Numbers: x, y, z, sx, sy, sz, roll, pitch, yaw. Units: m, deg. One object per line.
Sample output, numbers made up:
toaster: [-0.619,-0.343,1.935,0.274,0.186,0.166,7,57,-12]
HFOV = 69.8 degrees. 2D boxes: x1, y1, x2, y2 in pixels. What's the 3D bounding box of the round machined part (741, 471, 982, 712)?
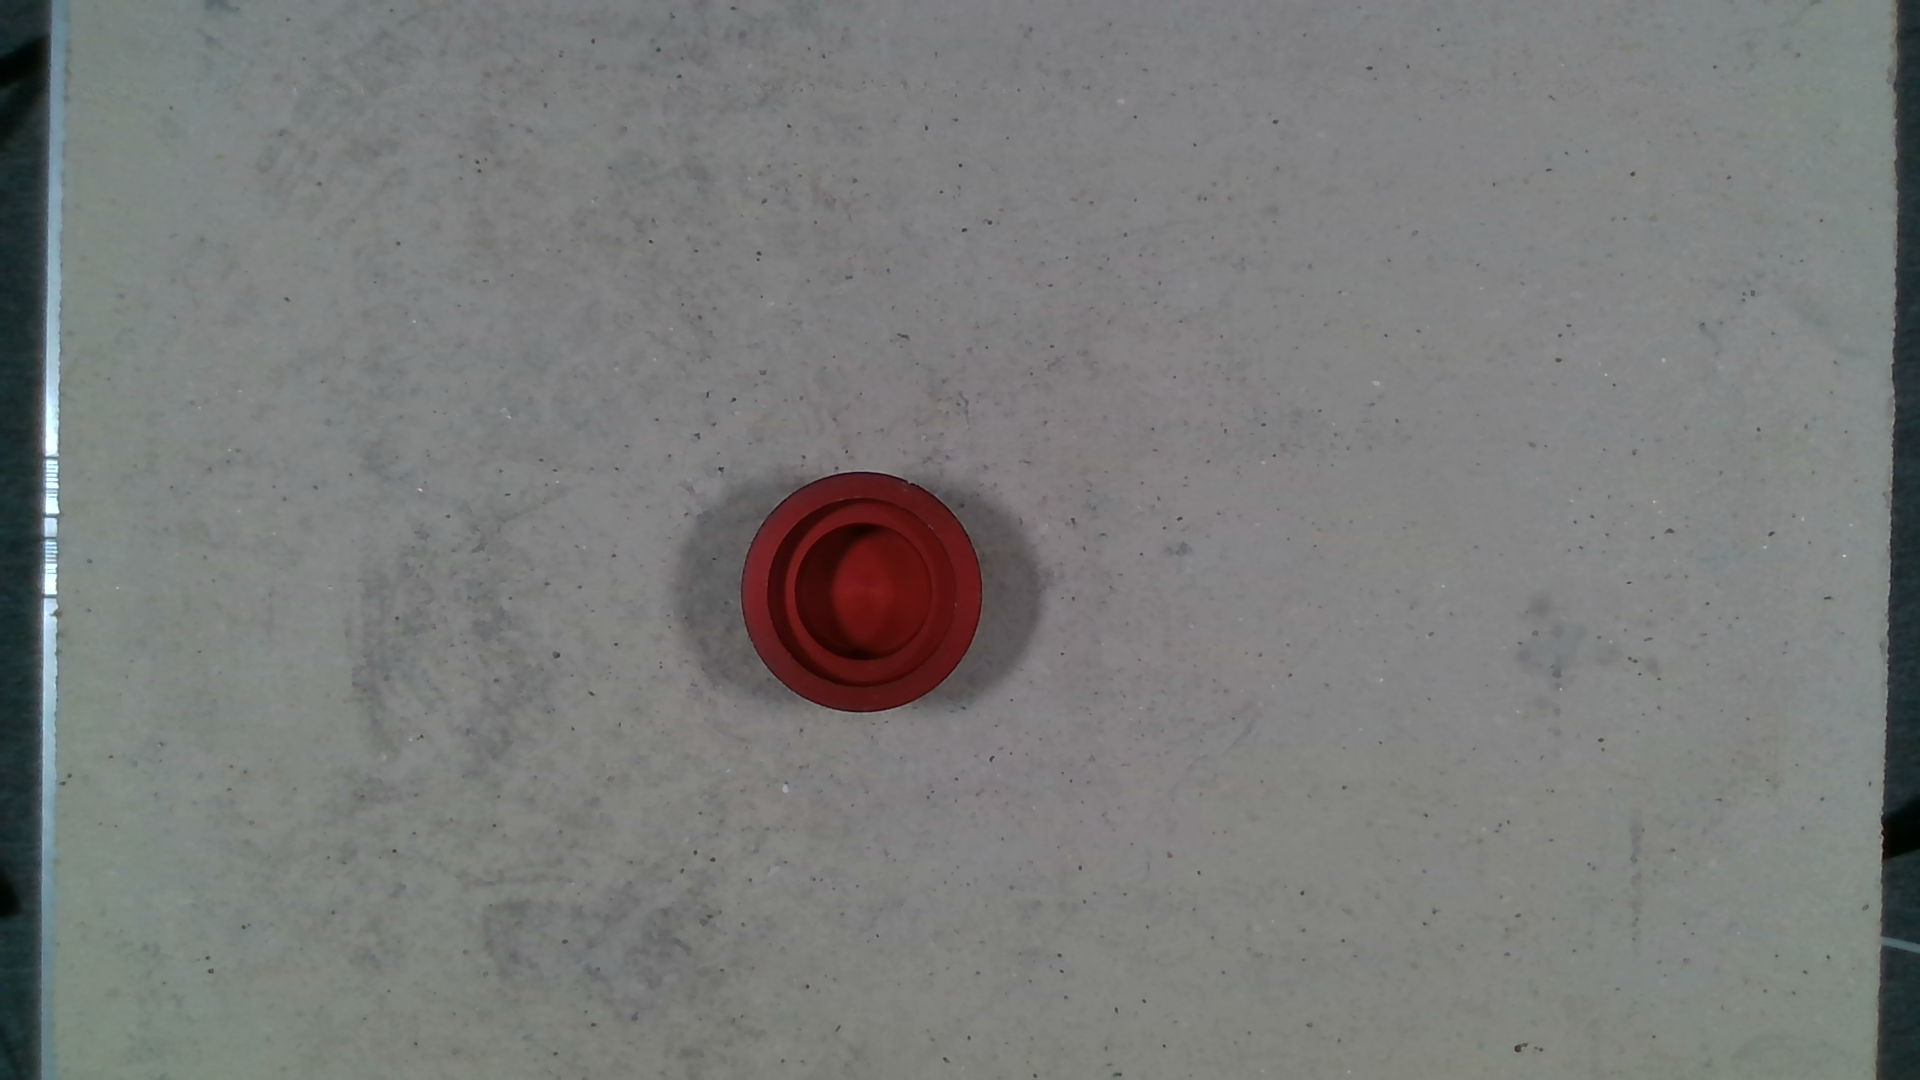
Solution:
round machined part: [-0.040,0.021,0.579,0.098,0.042,0.098,0,90,0]
